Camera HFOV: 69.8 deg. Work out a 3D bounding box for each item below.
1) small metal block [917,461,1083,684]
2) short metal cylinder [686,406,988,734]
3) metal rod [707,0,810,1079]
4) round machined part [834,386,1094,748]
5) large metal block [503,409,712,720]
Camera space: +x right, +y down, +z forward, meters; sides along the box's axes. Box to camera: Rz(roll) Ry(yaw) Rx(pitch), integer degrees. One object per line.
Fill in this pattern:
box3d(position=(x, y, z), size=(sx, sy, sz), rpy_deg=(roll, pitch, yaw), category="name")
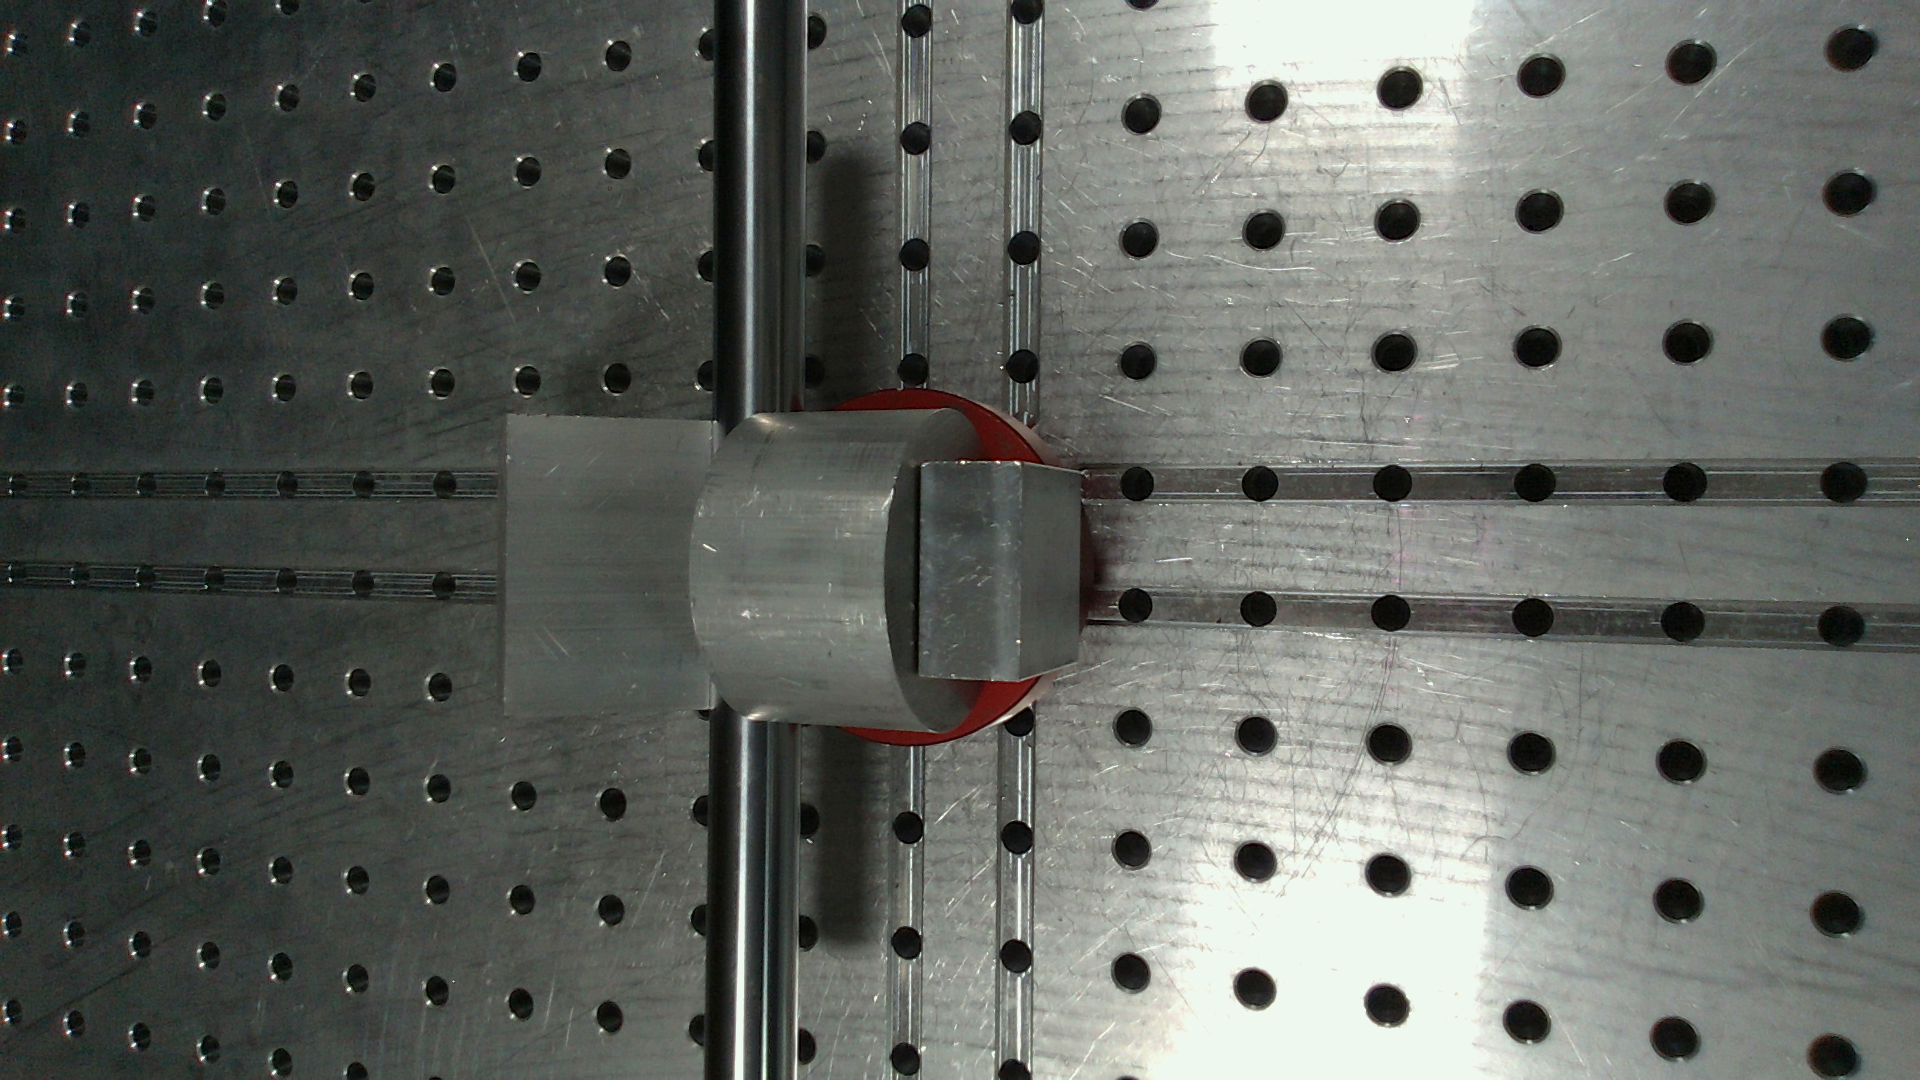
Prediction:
box3d(position=(0.011, 0.007, 0.336), size=(0.025, 0.050, 0.050), rpy_deg=(1, 91, 20), category="small metal block")
box3d(position=(-0.026, 0.007, 0.346), size=(0.050, 0.080, 0.080), rpy_deg=(1, 90, 20), category="short metal cylinder")
box3d(position=(-0.055, -0.001, 0.374), size=(0.025, 0.025, 0.300), rpy_deg=(1, 90, 20), category="metal rod")
box3d(position=(-0.009, 0.007, 0.391), size=(0.098, 0.042, 0.098), rpy_deg=(0, 90, 20), category="round machined part")
box3d(position=(-0.105, 0.006, 0.401), size=(0.050, 0.080, 0.080), rpy_deg=(1, 90, -21), category="large metal block")
